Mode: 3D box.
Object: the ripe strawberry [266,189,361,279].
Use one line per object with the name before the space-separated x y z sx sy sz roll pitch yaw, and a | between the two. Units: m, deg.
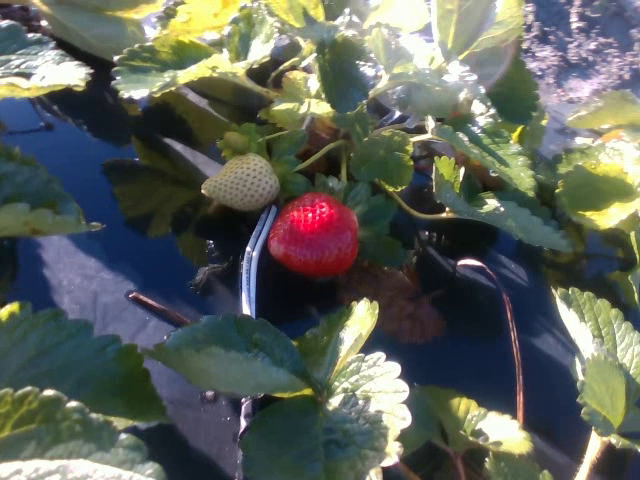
ripe strawberry | 0.002 -0.005 0.328 0.040 0.063 0.080 -25 -4 34
